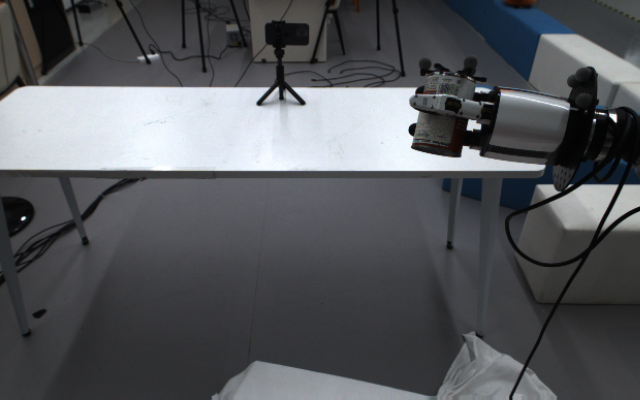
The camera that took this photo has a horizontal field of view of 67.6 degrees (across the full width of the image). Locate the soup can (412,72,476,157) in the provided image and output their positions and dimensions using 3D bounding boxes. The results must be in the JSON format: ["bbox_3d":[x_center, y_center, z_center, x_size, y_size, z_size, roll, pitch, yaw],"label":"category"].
[{"bbox_3d":[0.168,-0.115,0.656,0.067,0.101,0.067,11,2,0],"label":"soup can"}]
